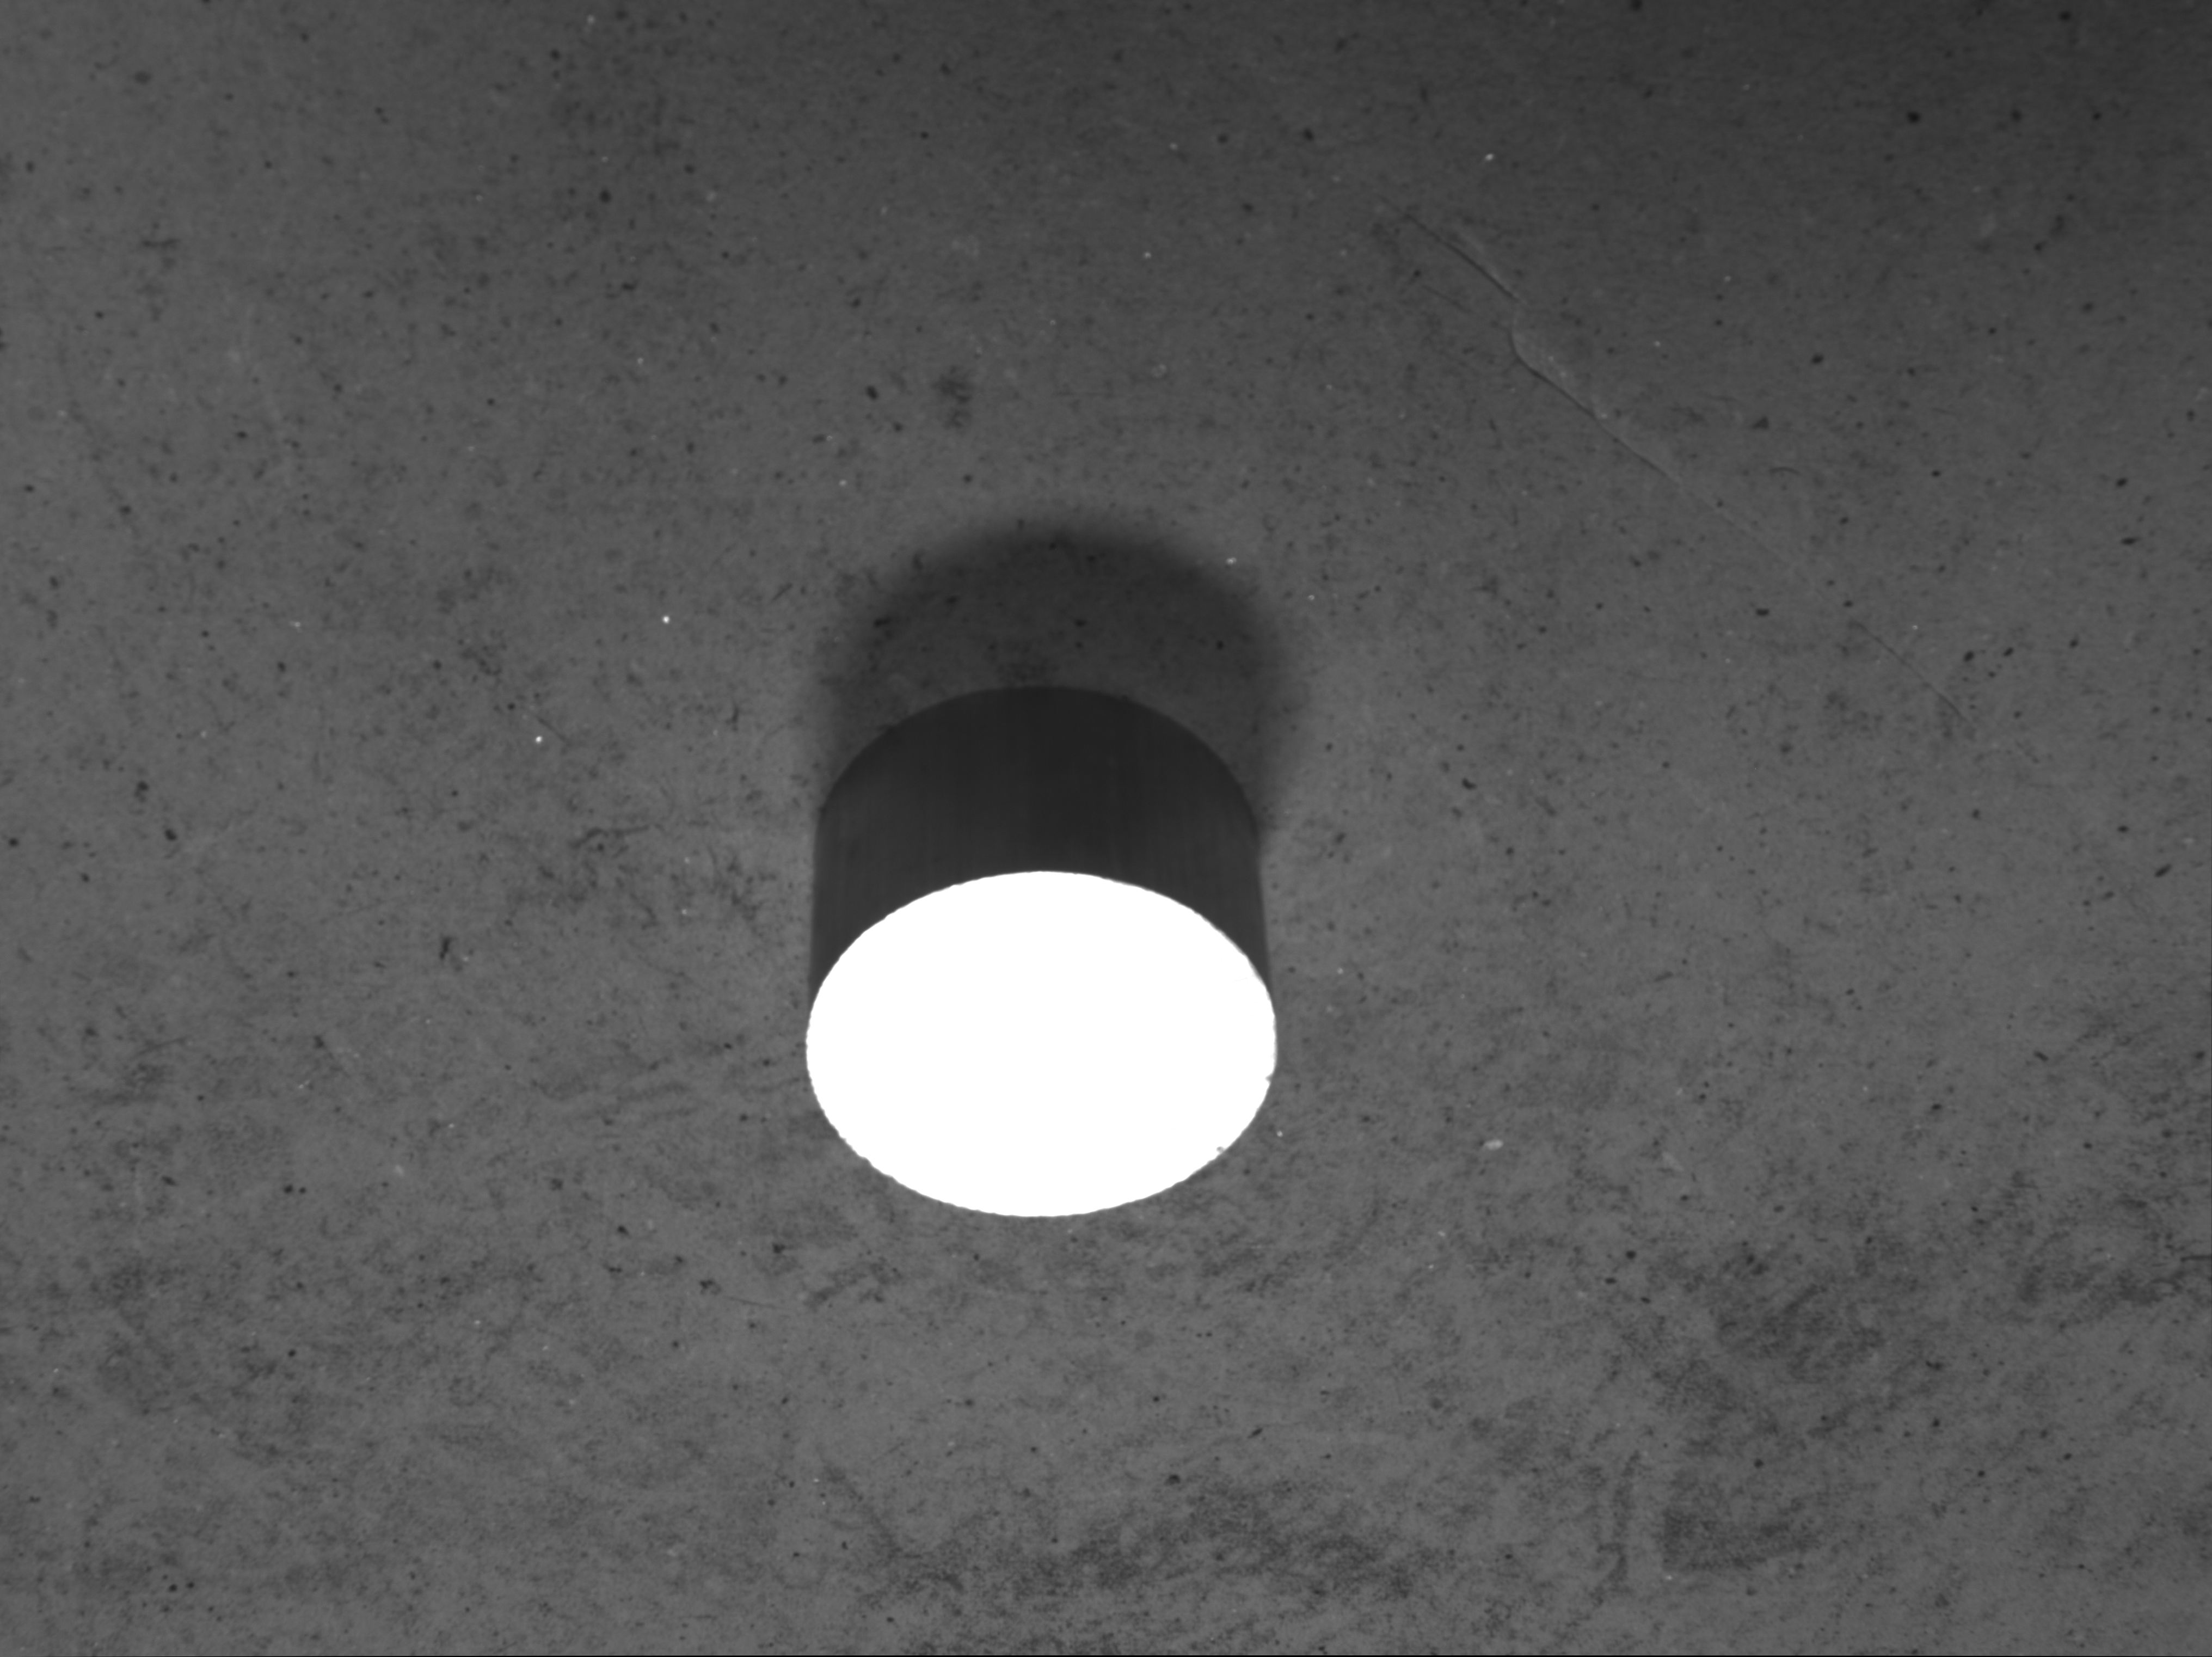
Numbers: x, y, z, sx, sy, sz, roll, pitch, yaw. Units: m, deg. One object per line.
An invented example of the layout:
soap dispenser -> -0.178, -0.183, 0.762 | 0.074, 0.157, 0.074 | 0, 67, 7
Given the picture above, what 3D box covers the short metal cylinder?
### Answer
short metal cylinder -> -0.004, 0.022, 0.641 | 0.080, 0.050, 0.080 | -1, 130, -1
